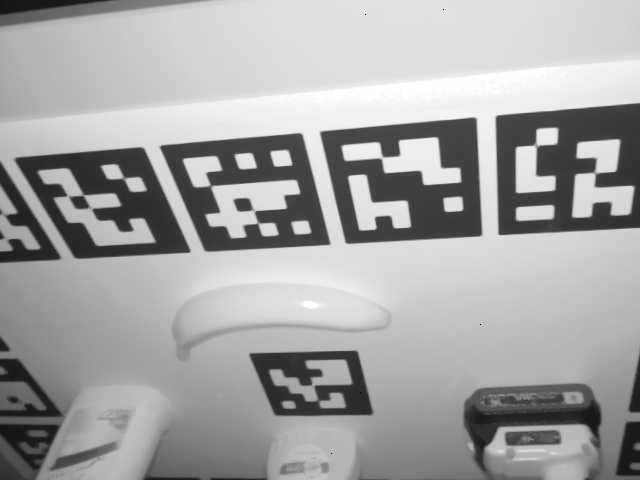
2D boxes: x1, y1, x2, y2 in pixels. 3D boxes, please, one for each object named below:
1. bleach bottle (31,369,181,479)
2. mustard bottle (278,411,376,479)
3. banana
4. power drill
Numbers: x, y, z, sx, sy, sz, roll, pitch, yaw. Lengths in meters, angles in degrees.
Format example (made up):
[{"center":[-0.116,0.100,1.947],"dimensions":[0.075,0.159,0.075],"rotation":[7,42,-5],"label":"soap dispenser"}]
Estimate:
[{"center":[-0.207,0.231,0.606],"dimensions":[0.102,0.253,0.067],"rotation":[4,130,6],"label":"bleach bottle"},{"center":[-0.005,0.252,0.637],"dimensions":[0.095,0.194,0.058],"rotation":[-8,128,17],"label":"mustard bottle"},{"center":[-0.028,0.046,0.556],"dimensions":[0.196,0.039,0.074],"rotation":[-8,126,11],"label":"banana"},{"center":[0.169,0.227,0.551],"dimensions":[0.183,0.189,0.057],"rotation":[-9,127,11],"label":"power drill"}]
